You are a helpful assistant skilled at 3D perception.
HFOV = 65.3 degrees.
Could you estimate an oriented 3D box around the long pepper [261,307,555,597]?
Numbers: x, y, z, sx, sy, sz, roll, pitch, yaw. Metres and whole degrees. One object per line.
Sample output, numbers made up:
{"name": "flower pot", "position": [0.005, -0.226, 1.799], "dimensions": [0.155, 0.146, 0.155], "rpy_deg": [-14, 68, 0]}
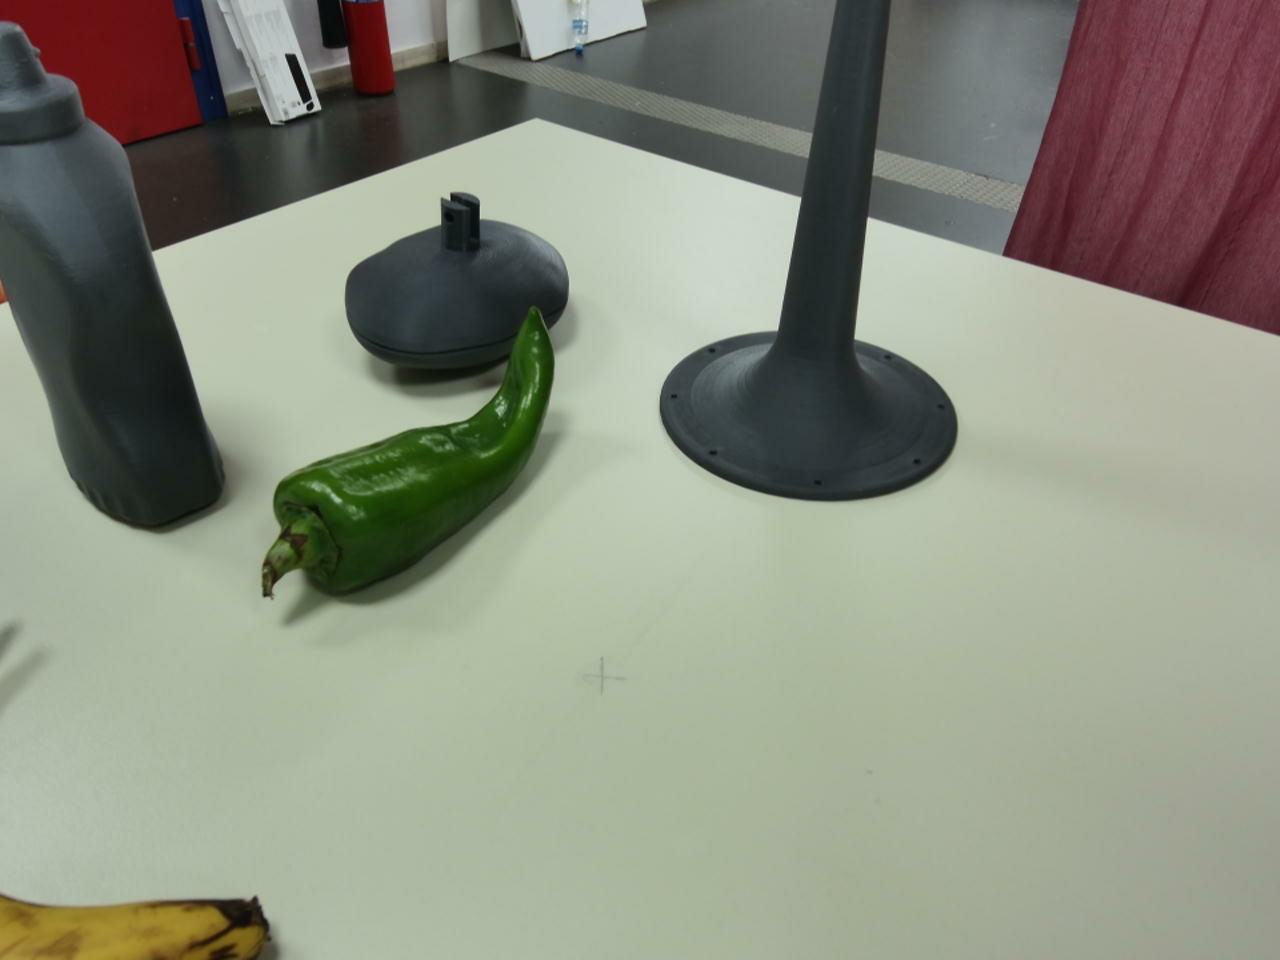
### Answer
{"name": "long pepper", "position": [-0.088, -0.011, 0.417], "dimensions": [0.058, 0.065, 0.175], "rpy_deg": [24, 42, 28]}
